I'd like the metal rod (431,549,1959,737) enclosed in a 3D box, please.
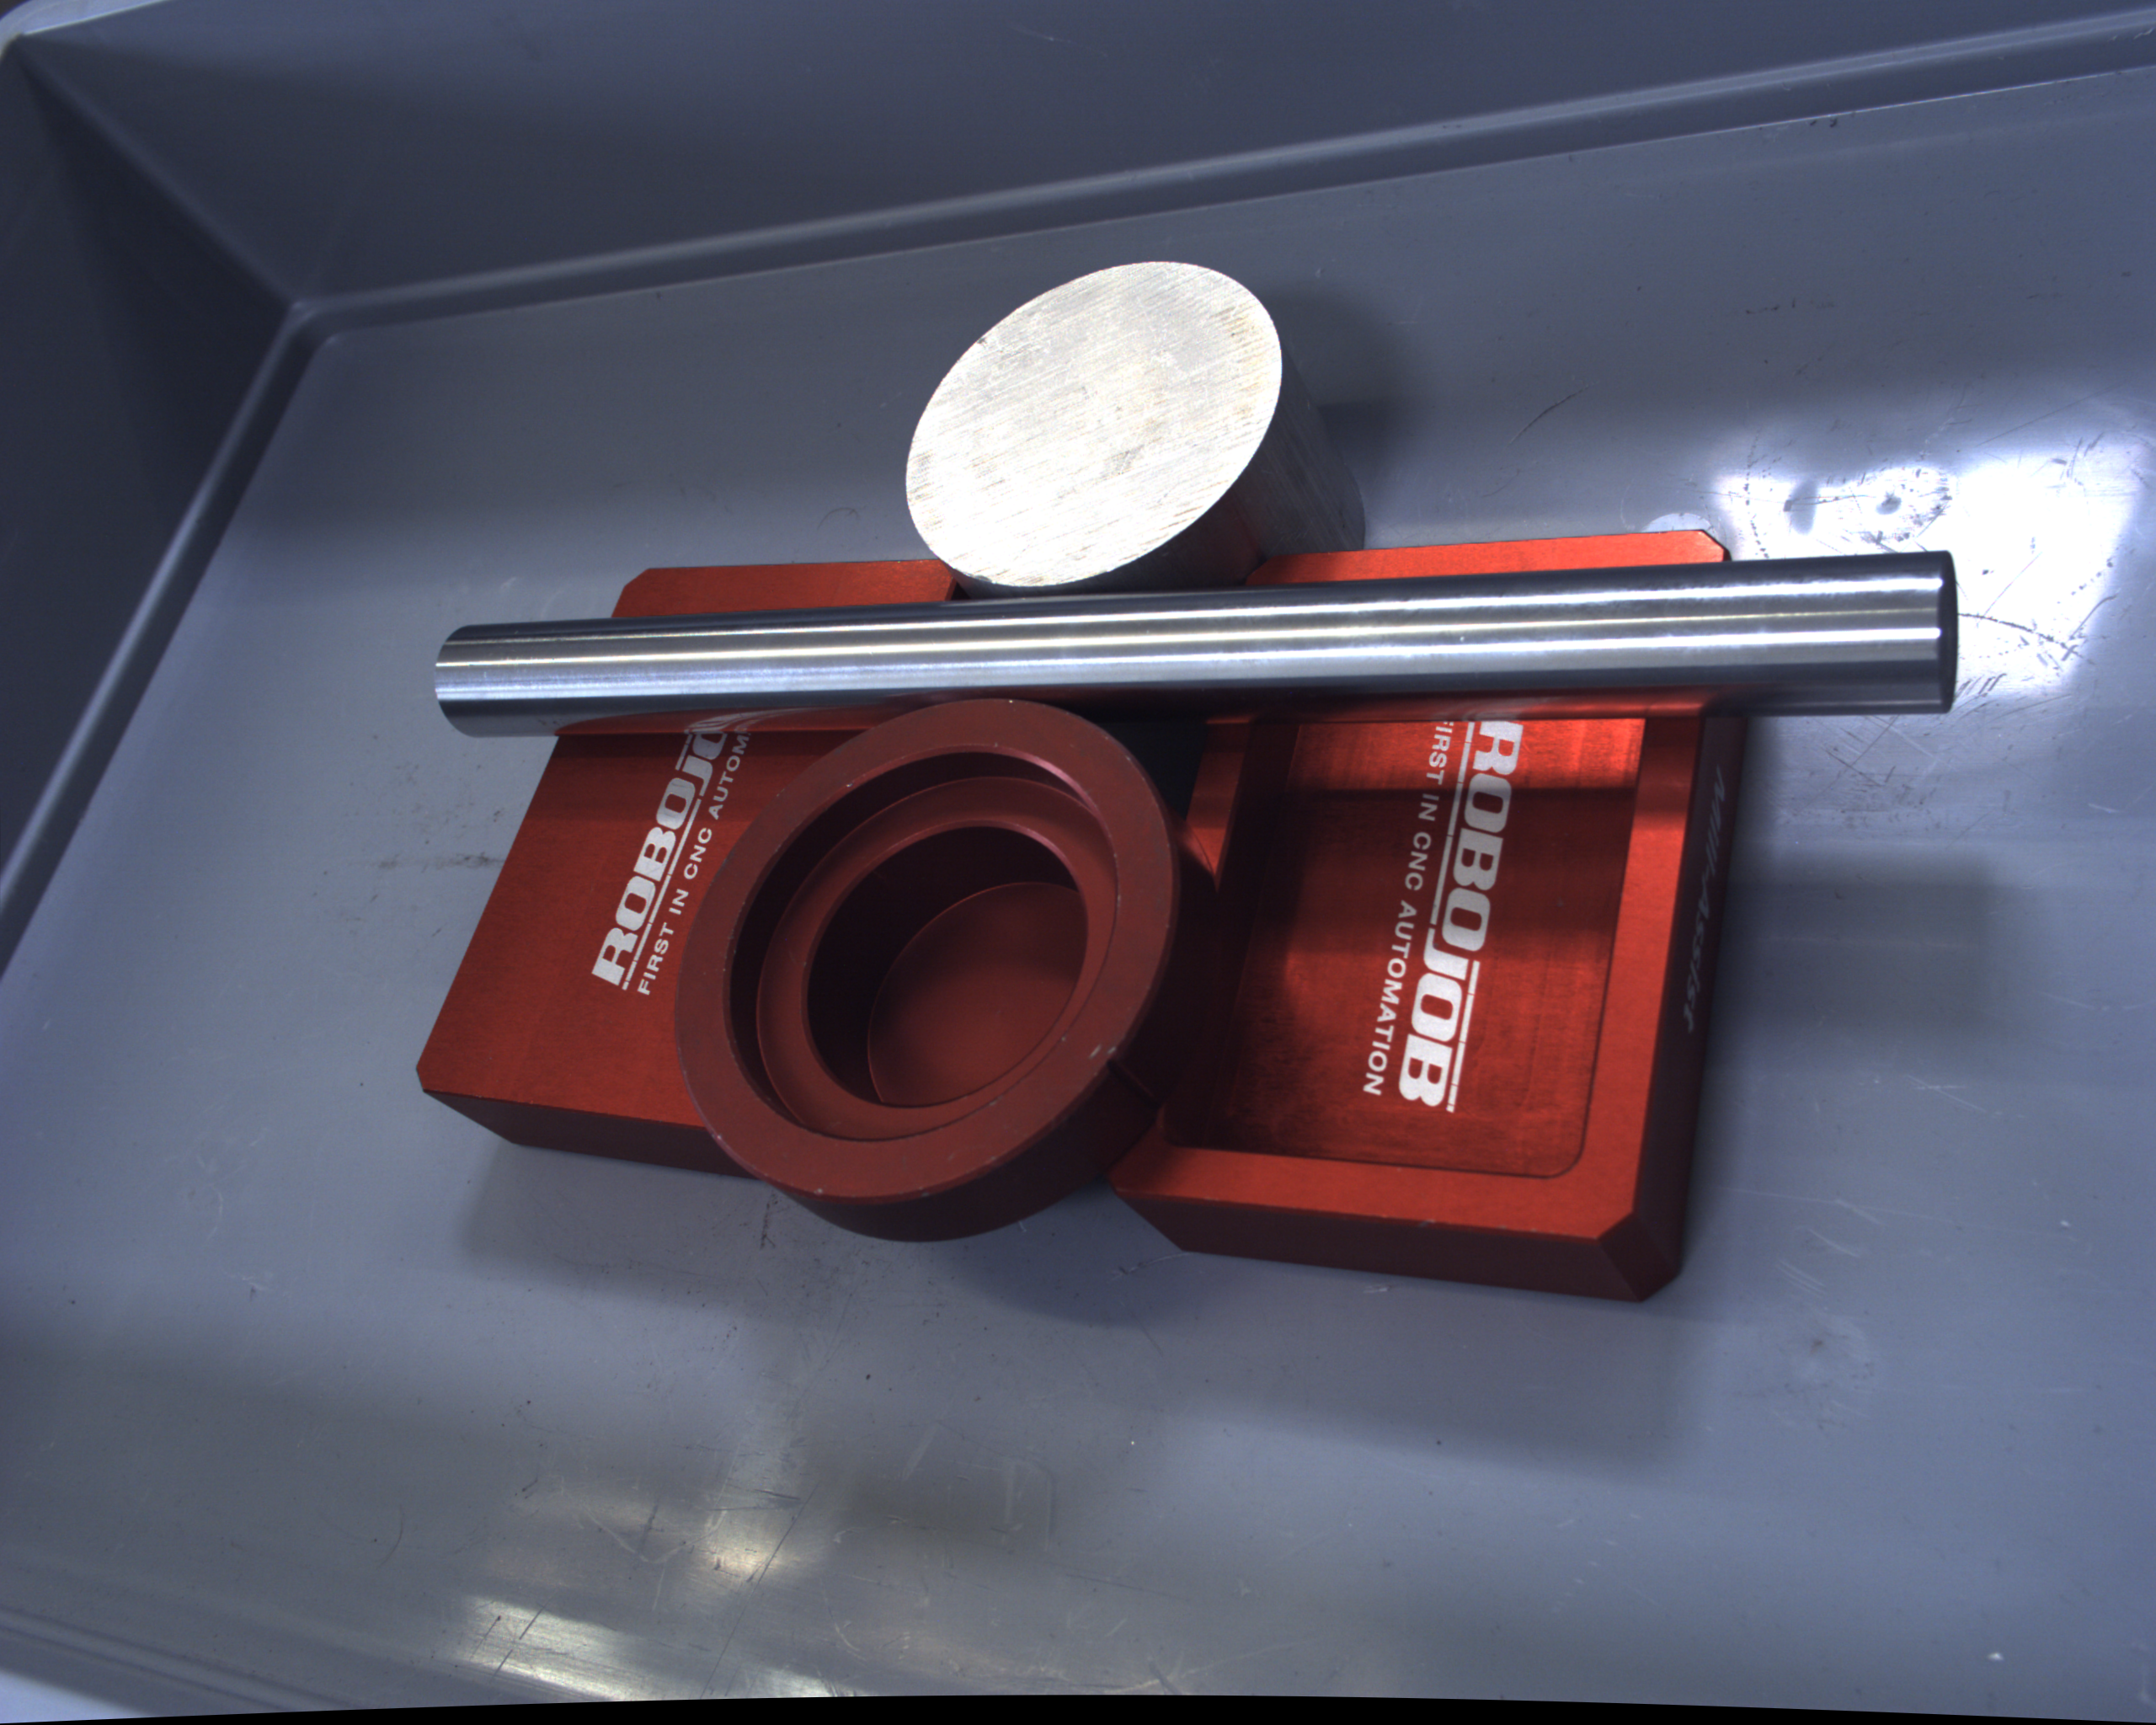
[{"bbox_3d":[0.000,-0.038,0.387,0.300,0.025,0.025,1,62,28],"label":"metal rod"}]

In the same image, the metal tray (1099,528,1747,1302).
[{"bbox_3d":[0.063,0.005,0.363,0.090,0.030,0.130,1,62,28],"label":"metal tray"}]

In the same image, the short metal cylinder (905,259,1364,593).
[{"bbox_3d":[0.012,-0.076,0.427,0.080,0.050,0.080,-13,56,21],"label":"short metal cylinder"}]

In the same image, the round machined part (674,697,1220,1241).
[{"bbox_3d":[-0.020,0.022,0.378,0.098,0.042,0.098,-13,56,21],"label":"round machined part"}]

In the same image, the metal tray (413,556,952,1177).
[{"bbox_3d":[-0.075,-0.002,0.439,0.090,0.030,0.130,3,63,29],"label":"metal tray"}]
